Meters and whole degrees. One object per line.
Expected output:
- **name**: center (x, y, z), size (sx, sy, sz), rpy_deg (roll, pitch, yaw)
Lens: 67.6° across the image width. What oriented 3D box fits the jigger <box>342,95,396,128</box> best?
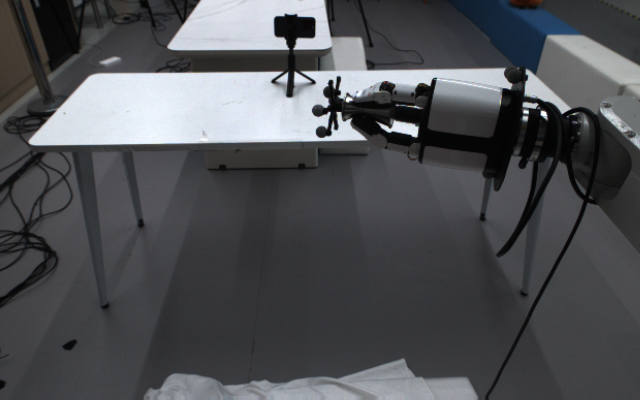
- **jigger**: center (0.074, -0.130, 0.670), size (0.071, 0.043, 0.043), rpy_deg (9, 35, 16)
